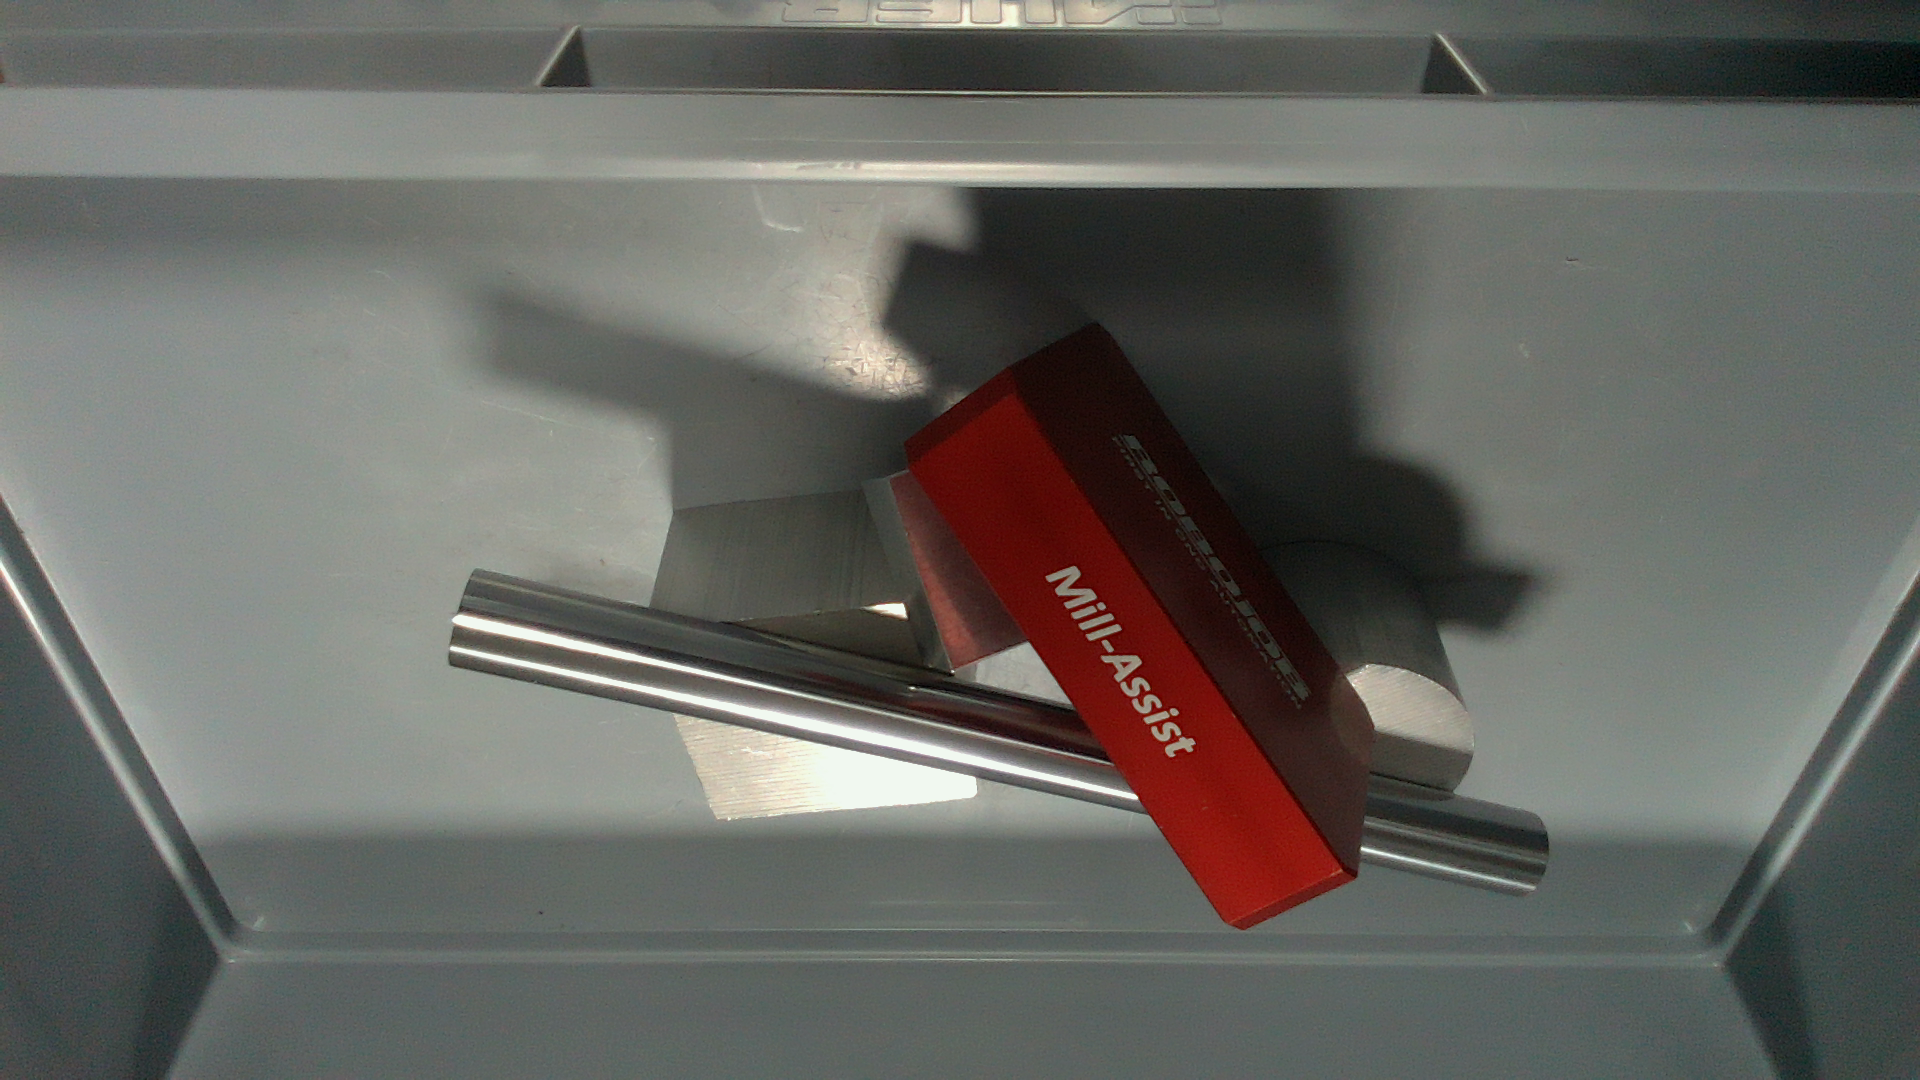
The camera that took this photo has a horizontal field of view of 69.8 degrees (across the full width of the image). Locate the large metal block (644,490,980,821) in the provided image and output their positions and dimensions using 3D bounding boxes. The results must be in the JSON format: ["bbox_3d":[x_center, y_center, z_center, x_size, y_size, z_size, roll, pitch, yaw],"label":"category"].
[{"bbox_3d":[-0.039,0.033,0.401,0.080,0.050,0.080,-6,130,5],"label":"large metal block"}]

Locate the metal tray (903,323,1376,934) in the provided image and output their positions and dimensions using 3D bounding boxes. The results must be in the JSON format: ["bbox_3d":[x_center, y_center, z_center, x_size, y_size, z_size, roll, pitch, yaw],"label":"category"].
[{"bbox_3d":[0.048,0.015,0.327,0.030,0.090,0.130,-34,93,24],"label":"metal tray"}]

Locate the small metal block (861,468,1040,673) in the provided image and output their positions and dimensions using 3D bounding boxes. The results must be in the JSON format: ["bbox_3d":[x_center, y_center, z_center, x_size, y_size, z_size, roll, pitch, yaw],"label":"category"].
[{"bbox_3d":[0.009,0.000,0.345,0.050,0.025,0.050,-20,96,-18],"label":"small metal block"}]

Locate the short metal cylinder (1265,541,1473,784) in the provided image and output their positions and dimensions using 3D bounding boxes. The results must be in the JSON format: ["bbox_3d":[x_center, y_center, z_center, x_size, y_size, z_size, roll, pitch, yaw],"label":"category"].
[{"bbox_3d":[0.106,0.047,0.413,0.080,0.050,0.080,0,130,0],"label":"short metal cylinder"}]

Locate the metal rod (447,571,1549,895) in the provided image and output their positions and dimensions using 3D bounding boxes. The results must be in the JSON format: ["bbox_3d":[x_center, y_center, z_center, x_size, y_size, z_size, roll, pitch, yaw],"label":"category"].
[{"bbox_3d":[0.020,0.055,0.369,0.300,0.025,0.025,14,129,-12],"label":"metal rod"}]
